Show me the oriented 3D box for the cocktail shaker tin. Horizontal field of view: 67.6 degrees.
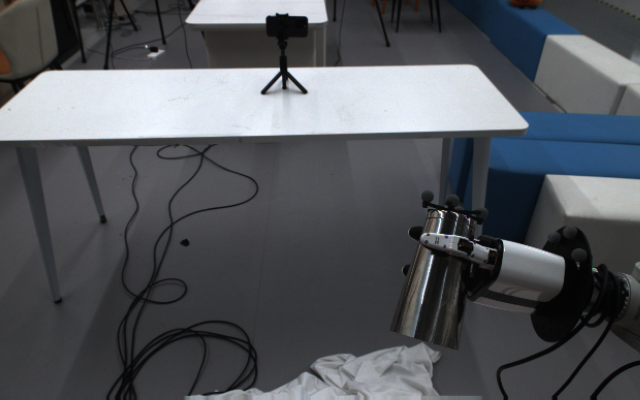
[{"bbox_3d":[0.163,0.101,0.654,0.093,0.093,0.170,13,79,15],"label":"cocktail shaker tin"}]
